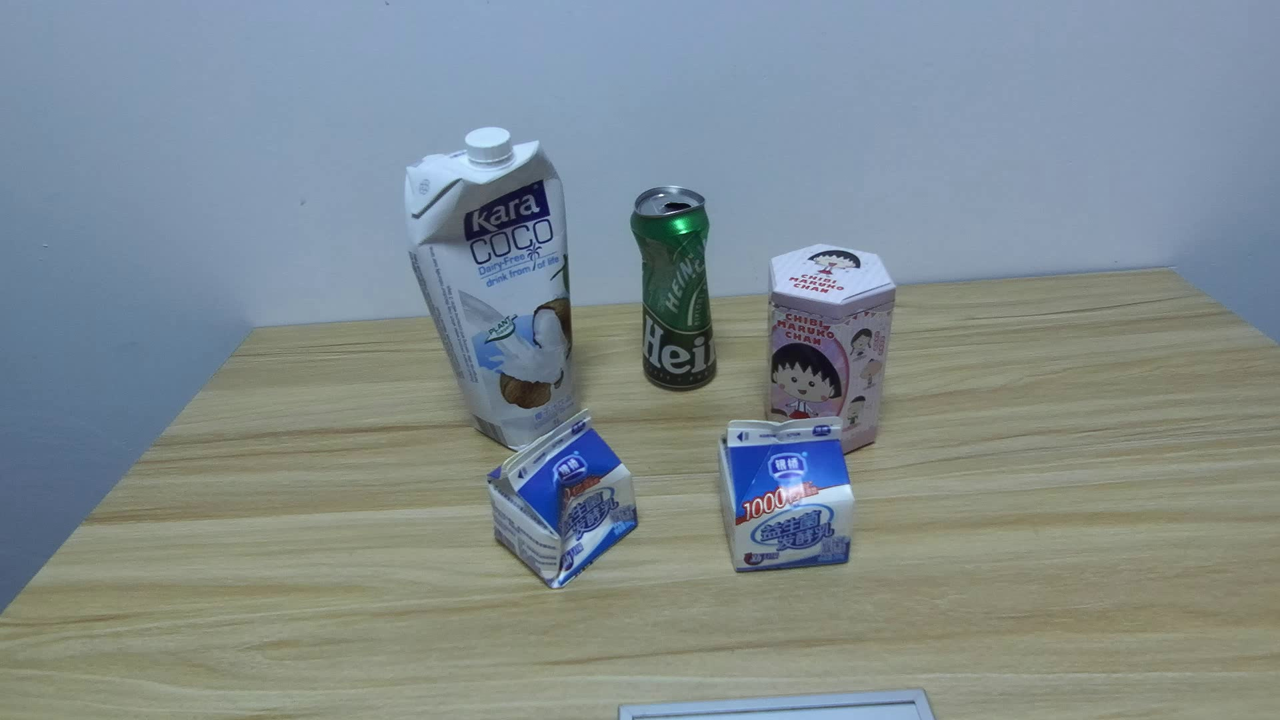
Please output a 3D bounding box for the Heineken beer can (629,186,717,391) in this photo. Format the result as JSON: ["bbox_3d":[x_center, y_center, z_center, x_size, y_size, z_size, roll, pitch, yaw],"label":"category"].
[{"bbox_3d":[0.029,-0.057,0.584,0.066,0.164,0.077,3,37,14],"label":"Heineken beer can"}]

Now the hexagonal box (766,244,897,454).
[{"bbox_3d":[0.133,-0.004,0.513,0.091,0.136,0.084,16,38,29],"label":"hexagonal box"}]

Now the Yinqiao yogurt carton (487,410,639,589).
[{"bbox_3d":[-0.053,0.080,0.451,0.070,0.094,0.077,28,46,35],"label":"Yinqiao yogurt carton"}]

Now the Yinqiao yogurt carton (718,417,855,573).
[{"bbox_3d":[0.090,0.072,0.442,0.075,0.092,0.073,-4,34,0],"label":"Yinqiao yogurt carton"}]

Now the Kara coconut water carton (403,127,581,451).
[{"bbox_3d":[-0.101,-0.048,0.520,0.069,0.239,0.115,25,43,36],"label":"Kara coconut water carton"}]
